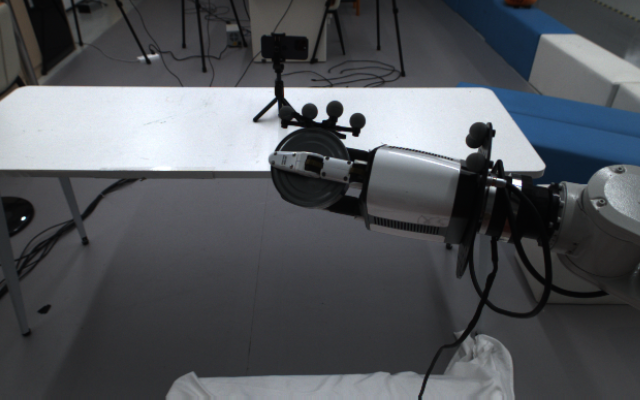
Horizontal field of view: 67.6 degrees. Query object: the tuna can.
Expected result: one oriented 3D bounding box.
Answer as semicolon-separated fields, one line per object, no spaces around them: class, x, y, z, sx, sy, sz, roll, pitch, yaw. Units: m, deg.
tuna can;-0.006;-0.036;0.523;0.085;0.085;0.034;10;-5;12
